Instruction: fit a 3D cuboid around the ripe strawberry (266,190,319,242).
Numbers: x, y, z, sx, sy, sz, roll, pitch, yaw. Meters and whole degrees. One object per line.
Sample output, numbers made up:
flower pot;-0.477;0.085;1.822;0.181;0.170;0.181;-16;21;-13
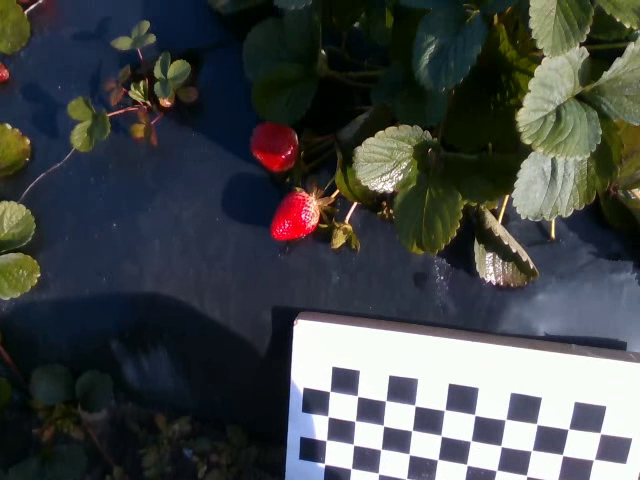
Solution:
ripe strawberry;-0.025;-0.020;0.505;0.053;0.043;0.038;-42;3;-24

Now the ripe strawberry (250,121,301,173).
ripe strawberry;-0.041;-0.084;0.530;0.054;0.048;0.039;17;16;-17
